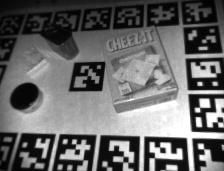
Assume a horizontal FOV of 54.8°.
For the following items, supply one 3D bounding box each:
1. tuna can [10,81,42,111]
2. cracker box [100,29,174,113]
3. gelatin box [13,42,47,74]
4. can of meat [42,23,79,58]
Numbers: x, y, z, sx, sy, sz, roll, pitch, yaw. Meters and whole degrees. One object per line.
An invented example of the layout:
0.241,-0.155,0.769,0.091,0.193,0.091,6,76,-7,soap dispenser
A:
-0.256,0.032,0.647,0.085,0.034,0.085,-4,66,10,tuna can
0.064,-0.047,0.616,0.164,0.072,0.212,-14,60,2,cracker box
-0.274,-0.093,0.720,0.073,0.030,0.088,-41,66,-14,gelatin box
-0.163,-0.143,0.703,0.101,0.084,0.058,29,72,24,can of meat
